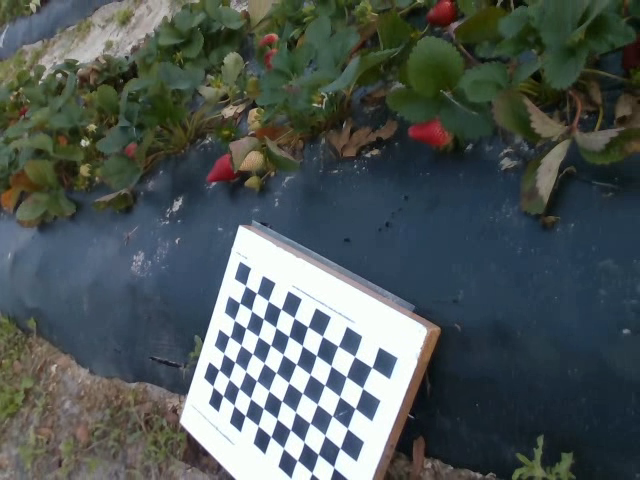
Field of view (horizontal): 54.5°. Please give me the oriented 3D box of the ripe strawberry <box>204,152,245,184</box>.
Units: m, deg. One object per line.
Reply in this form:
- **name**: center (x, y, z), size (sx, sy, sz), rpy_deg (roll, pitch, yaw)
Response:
- **ripe strawberry**: center (-0.136, -0.099, 0.861), size (0.050, 0.034, 0.059), rpy_deg (12, 45, 45)
